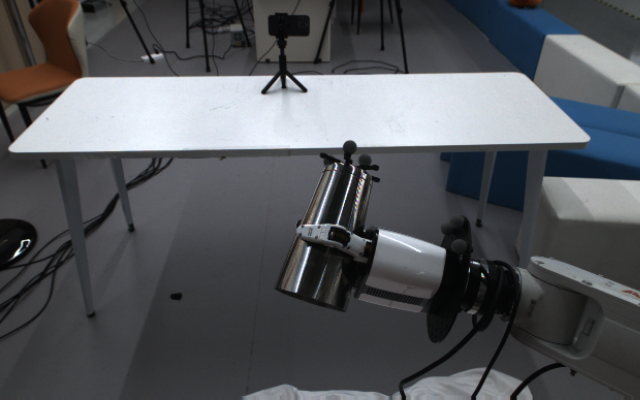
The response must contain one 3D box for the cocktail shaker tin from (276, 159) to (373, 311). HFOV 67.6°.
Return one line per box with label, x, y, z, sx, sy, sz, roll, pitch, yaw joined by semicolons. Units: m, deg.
cocktail shaker tin;0.011;0.043;0.605;0.093;0.093;0.170;14;73;17
